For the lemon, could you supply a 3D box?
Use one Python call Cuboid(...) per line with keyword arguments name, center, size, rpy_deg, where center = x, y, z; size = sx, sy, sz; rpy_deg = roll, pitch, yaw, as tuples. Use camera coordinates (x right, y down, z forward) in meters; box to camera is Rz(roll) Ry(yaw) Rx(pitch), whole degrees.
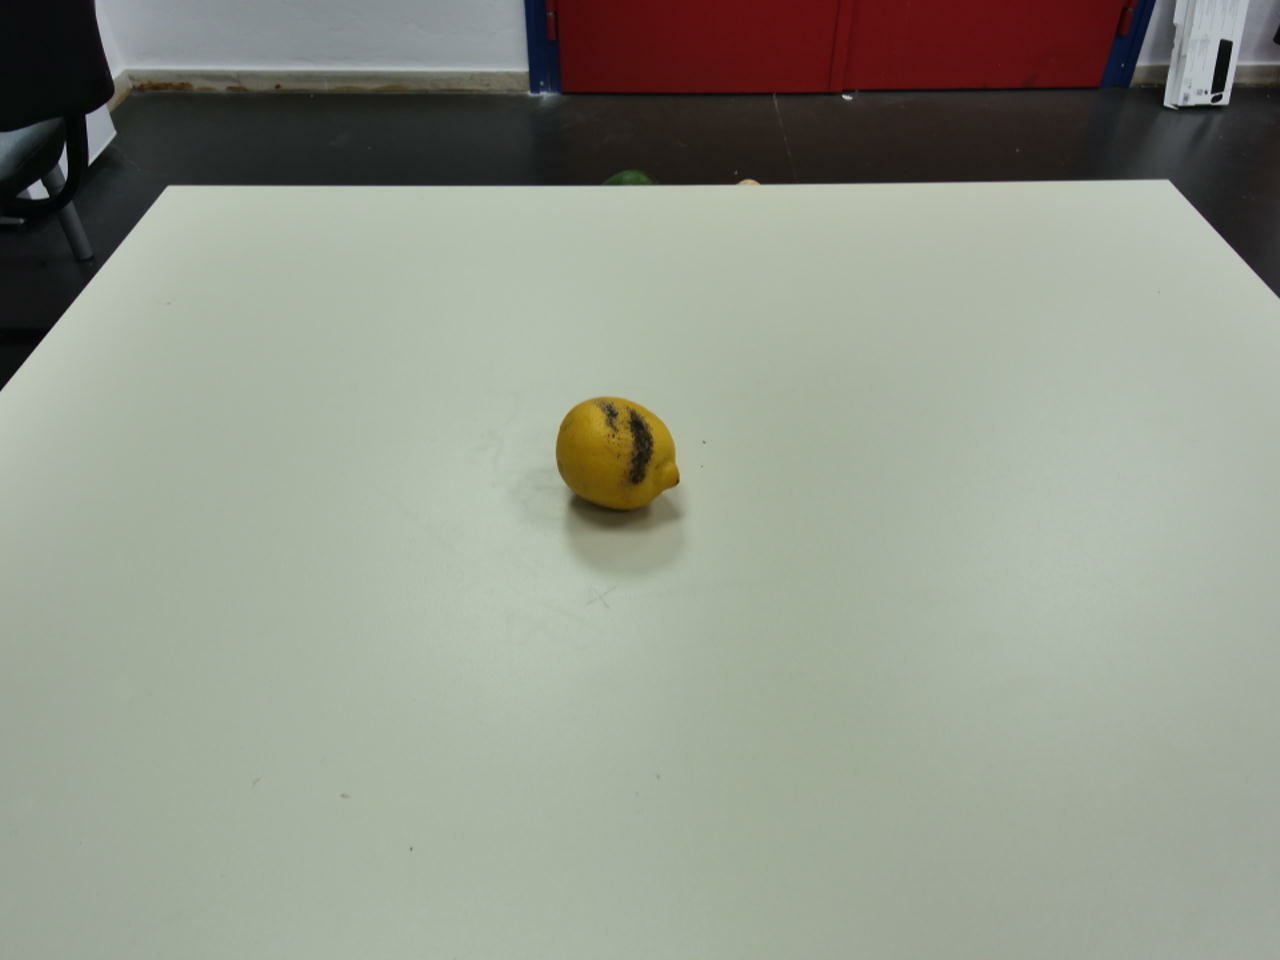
Cuboid(name="lemon", center=(-0.013, -0.014, 0.514), size=(0.061, 0.056, 0.058), rpy_deg=(-6, 39, -6))
